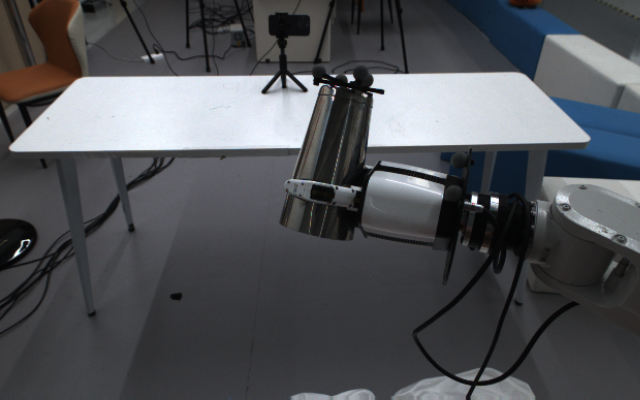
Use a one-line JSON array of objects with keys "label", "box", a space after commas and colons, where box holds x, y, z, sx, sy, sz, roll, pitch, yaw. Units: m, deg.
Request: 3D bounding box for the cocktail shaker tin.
[{"label": "cocktail shaker tin", "box": [0.014, -0.045, 0.584, 0.093, 0.170, 0.093, 13, 4, -1]}]
